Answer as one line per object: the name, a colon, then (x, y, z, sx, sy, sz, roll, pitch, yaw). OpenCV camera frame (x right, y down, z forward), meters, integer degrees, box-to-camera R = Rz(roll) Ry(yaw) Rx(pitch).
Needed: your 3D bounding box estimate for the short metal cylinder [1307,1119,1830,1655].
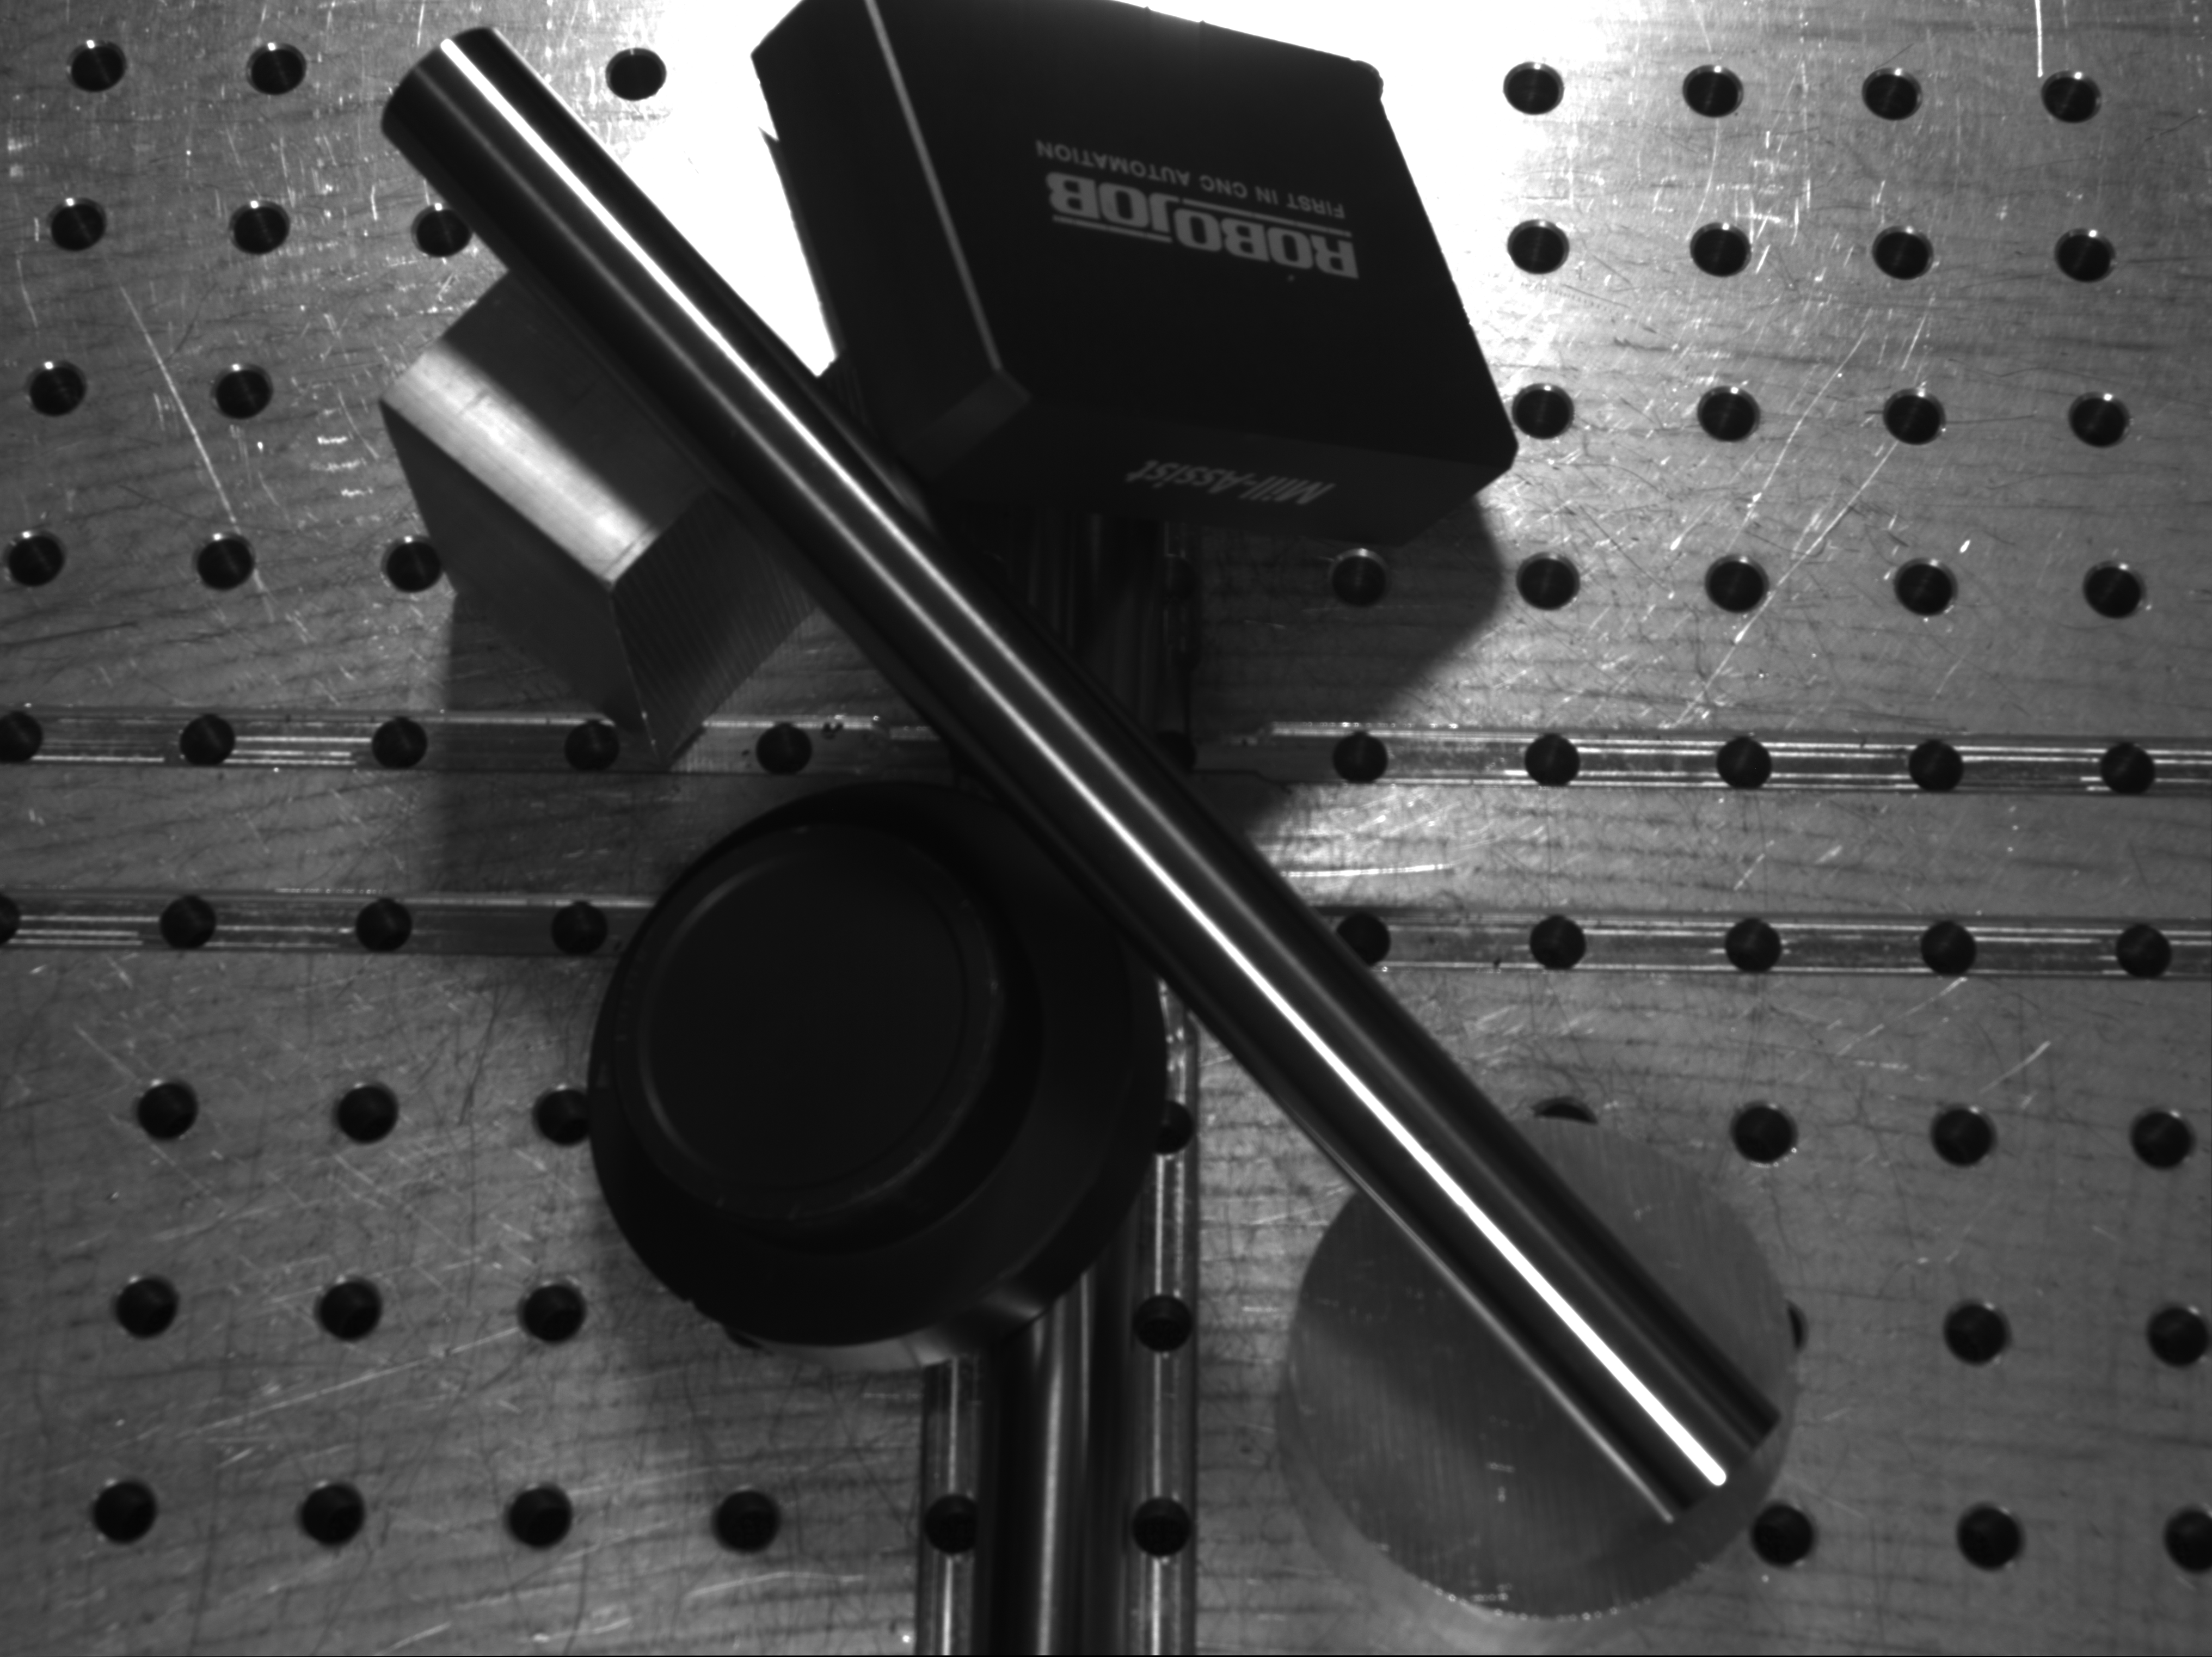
short metal cylinder: (0.074, 0.093, 0.600, 0.080, 0.050, 0.080, 0, 70, 0)

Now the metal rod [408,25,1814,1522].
metal rod: (-0.002, -0.012, 0.576, 0.025, 0.025, 0.300, -41, 83, -14)

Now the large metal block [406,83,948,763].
large metal block: (-0.070, -0.069, 0.644, 0.050, 0.080, 0.080, 39, 75, 13)

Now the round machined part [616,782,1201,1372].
round machined part: (-0.037, 0.038, 0.608, 0.098, 0.042, 0.098, -6, 68, 16)

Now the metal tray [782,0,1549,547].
metal tray: (0.013, -0.100, 0.639, 0.130, 0.030, 0.090, 2, 62, -45)

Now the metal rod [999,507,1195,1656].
metal rod: (0.000, 0.019, 0.640, 0.025, 0.025, 0.300, 2, 70, 1)
